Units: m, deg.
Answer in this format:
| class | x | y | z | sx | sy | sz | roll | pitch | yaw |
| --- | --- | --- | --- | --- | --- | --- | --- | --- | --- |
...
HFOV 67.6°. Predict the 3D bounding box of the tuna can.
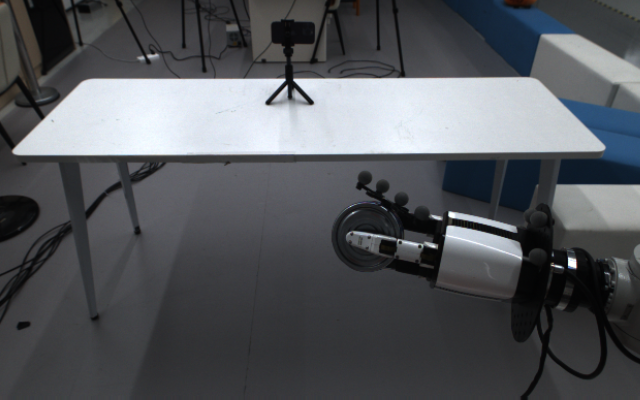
| class | x | y | z | sx | sy | sz | roll | pitch | yaw |
| --- | --- | --- | --- | --- | --- | --- | --- | --- | --- |
| tuna can | 0.062 | 0.049 | 0.585 | 0.085 | 0.085 | 0.034 | 13 | 4 | 15 |
